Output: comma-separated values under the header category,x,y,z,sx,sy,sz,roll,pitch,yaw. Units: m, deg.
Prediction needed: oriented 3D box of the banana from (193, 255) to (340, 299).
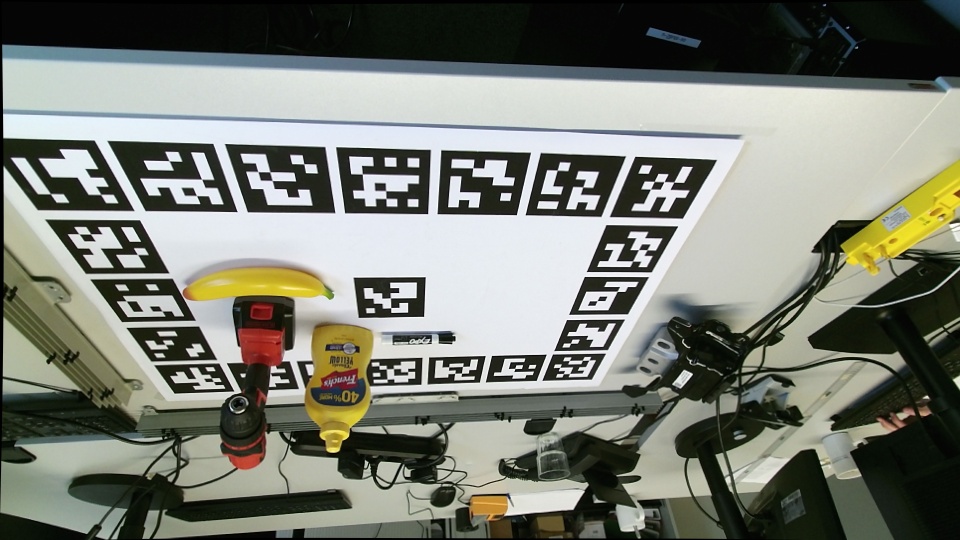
category,x,y,z,sx,sy,sz,roll,pitch,yaw
banana,-0.297,0.010,0.752,0.198,0.038,0.074,4,136,-15

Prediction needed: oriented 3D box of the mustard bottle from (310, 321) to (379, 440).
category,x,y,z,sx,sy,sz,roll,pitch,yaw
mustard bottle,-0.209,0.169,0.826,0.096,0.190,0.058,8,136,-15

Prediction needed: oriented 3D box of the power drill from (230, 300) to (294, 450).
category,x,y,z,sx,sy,sz,roll,pitch,yaw
power drill,-0.306,0.139,0.753,0.057,0.186,0.185,10,138,-17

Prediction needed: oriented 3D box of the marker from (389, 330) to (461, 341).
category,x,y,z,sx,sy,sz,roll,pitch,yaw
marker,-0.093,0.112,0.907,0.121,0.019,0.019,1,137,-9
